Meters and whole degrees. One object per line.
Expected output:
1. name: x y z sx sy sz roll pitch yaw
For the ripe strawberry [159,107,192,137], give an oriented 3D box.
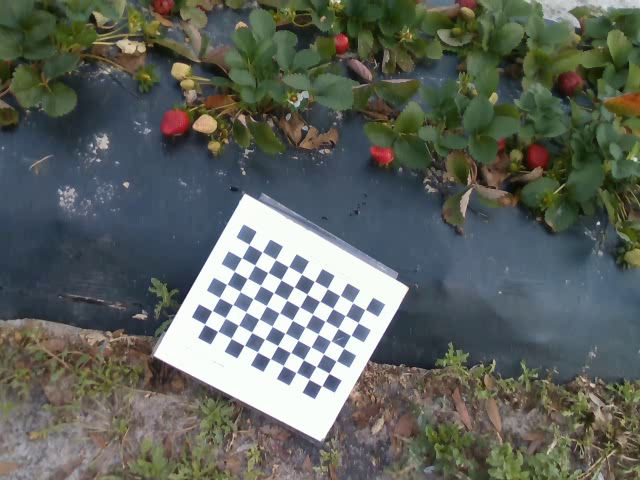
1. ripe strawberry: -0.219 -0.173 0.812 0.050 0.059 0.034 18 -46 -6
